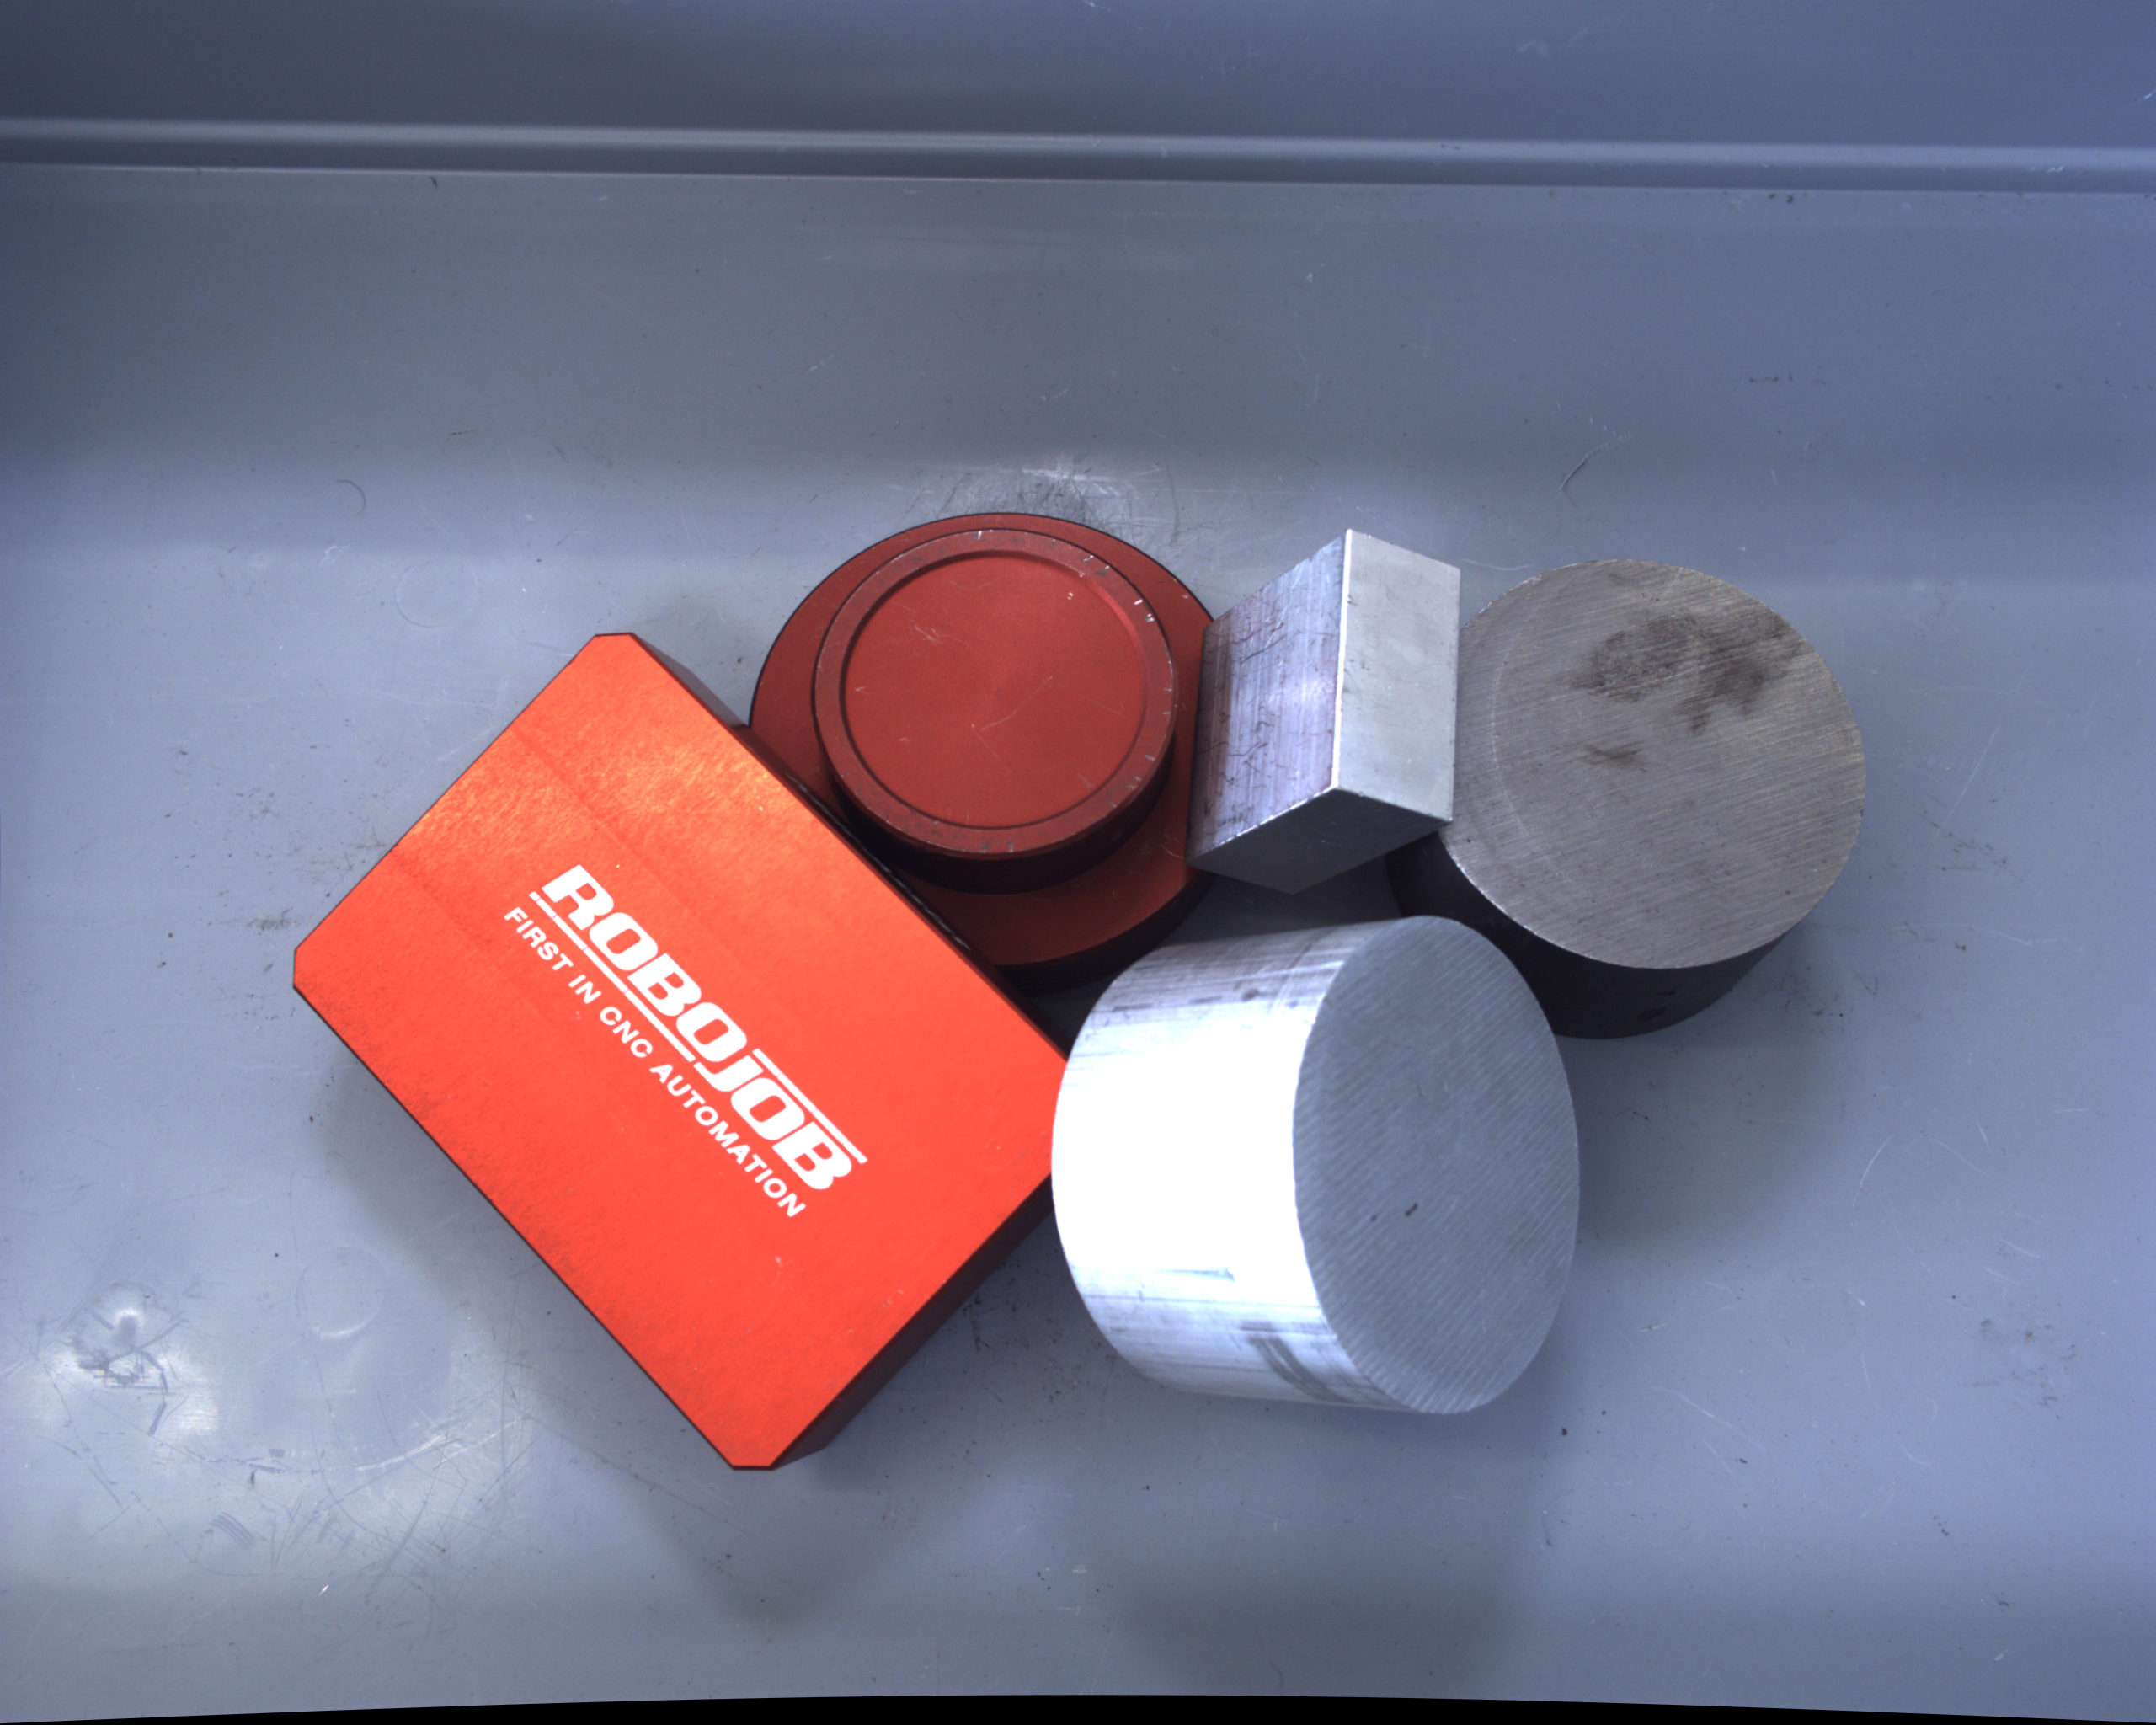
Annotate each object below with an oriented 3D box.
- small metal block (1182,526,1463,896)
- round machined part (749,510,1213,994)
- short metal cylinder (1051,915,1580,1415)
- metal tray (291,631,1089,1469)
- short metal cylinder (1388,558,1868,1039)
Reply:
[{"bbox_3d":[0.045,-0.026,0.385,0.025,0.050,0.050,16,67,-24],"label":"small metal block"},{"bbox_3d":[-0.016,-0.026,0.408,0.099,0.042,0.098,0,70,0],"label":"round machined part"},{"bbox_3d":[0.042,0.051,0.354,0.050,0.080,0.080,-9,63,43],"label":"short metal cylinder"},{"bbox_3d":[-0.068,0.032,0.381,0.130,0.030,0.090,44,91,13],"label":"metal tray"},{"bbox_3d":[0.102,-0.011,0.400,0.081,0.050,0.080,0,70,0],"label":"short metal cylinder"}]
